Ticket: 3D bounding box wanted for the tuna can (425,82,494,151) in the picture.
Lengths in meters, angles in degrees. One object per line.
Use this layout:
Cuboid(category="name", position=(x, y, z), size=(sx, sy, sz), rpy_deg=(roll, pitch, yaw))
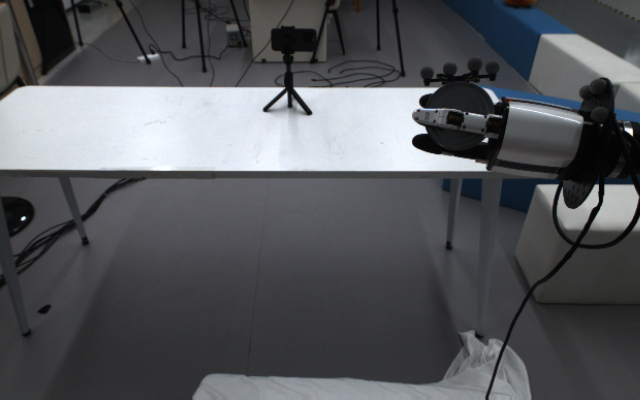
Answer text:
Cuboid(category="tuna can", position=(0.178, -0.109, 0.622), size=(0.085, 0.085, 0.034), rpy_deg=(15, 10, 18))
